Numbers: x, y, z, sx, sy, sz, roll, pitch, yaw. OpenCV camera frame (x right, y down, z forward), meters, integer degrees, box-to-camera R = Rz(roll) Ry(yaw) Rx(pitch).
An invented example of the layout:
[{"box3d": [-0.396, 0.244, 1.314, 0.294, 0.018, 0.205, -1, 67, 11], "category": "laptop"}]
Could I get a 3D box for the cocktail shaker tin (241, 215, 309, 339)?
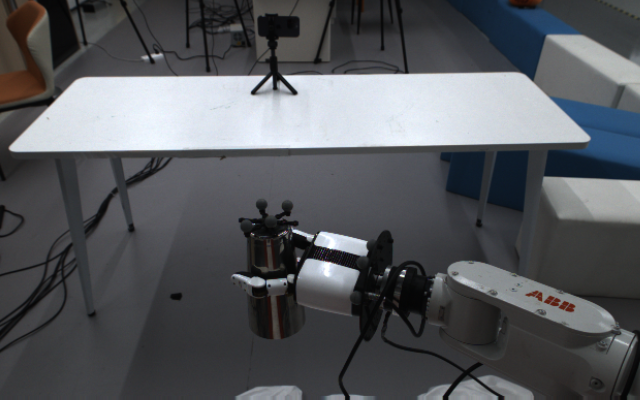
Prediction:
[{"box3d": [-0.070, 0.115, 0.739, 0.093, 0.170, 0.093, -2, 26, 1], "category": "cocktail shaker tin"}]
